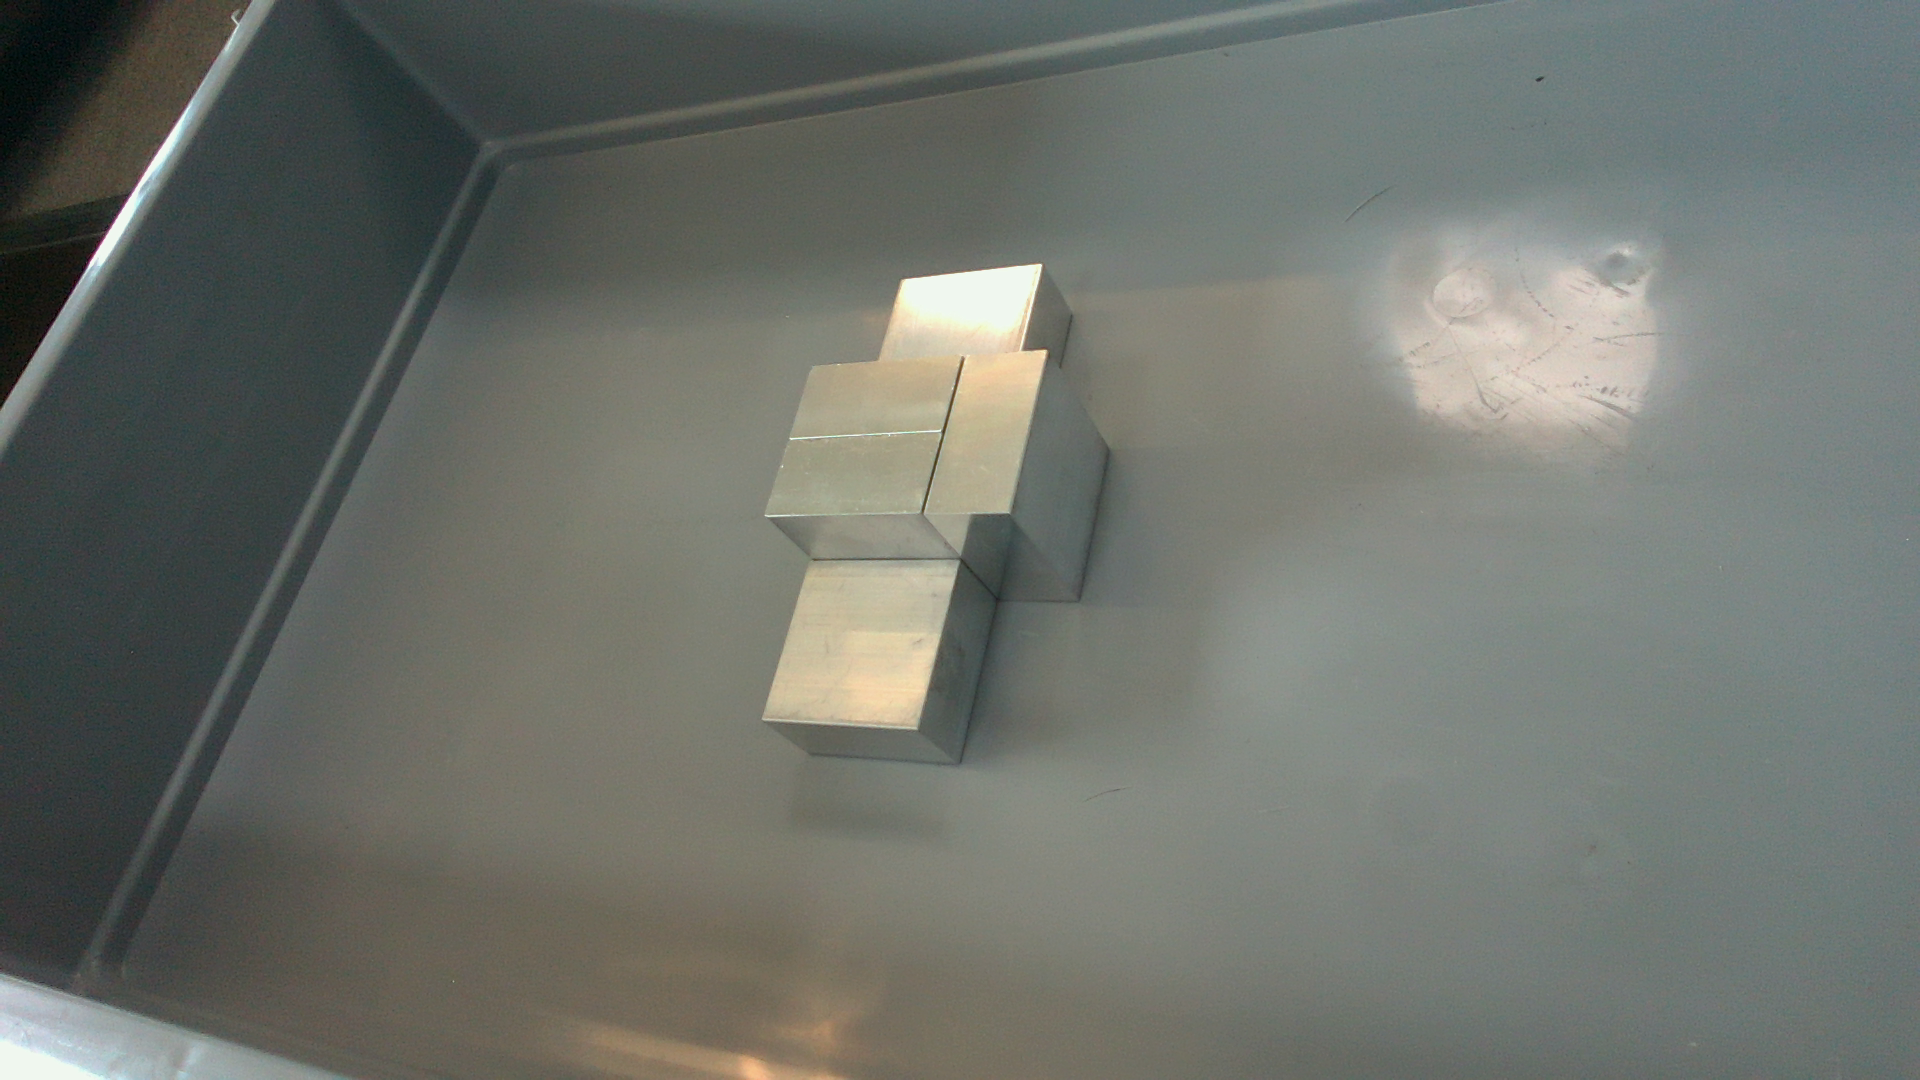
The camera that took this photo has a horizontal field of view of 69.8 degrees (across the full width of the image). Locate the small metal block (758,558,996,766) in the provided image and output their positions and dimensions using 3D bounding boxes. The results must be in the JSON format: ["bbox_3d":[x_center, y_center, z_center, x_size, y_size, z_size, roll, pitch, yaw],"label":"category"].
[{"bbox_3d":[-0.022,0.033,0.383,0.050,0.025,0.050,0,61,28],"label":"small metal block"}]

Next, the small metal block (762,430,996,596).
[{"bbox_3d":[-0.019,-0.006,0.390,0.050,0.050,0.025,0,61,28],"label":"small metal block"}]

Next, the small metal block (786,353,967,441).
[{"bbox_3d":[-0.014,-0.028,0.401,0.050,0.050,0.025,0,61,28],"label":"small metal block"}]

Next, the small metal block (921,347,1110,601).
[{"bbox_3d":[0.017,-0.017,0.377,0.025,0.050,0.050,0,61,28],"label":"small metal block"}]

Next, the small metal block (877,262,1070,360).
[{"bbox_3d":[0.002,-0.056,0.425,0.050,0.025,0.050,0,61,28],"label":"small metal block"}]
